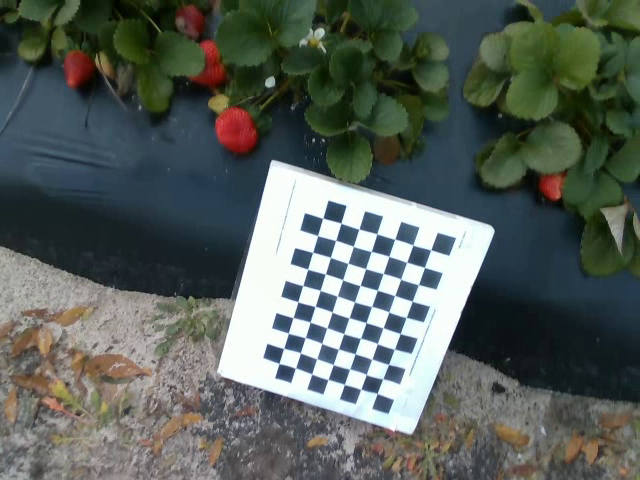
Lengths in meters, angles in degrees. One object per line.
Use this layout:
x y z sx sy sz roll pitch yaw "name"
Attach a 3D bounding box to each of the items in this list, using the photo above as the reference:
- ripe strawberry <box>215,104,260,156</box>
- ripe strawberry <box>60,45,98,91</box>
-0.108 -0.127 0.669 0.057 0.056 0.065 -17 16 28 "ripe strawberry"
-0.293 -0.202 0.677 0.043 0.052 0.041 0 -30 10 "ripe strawberry"
